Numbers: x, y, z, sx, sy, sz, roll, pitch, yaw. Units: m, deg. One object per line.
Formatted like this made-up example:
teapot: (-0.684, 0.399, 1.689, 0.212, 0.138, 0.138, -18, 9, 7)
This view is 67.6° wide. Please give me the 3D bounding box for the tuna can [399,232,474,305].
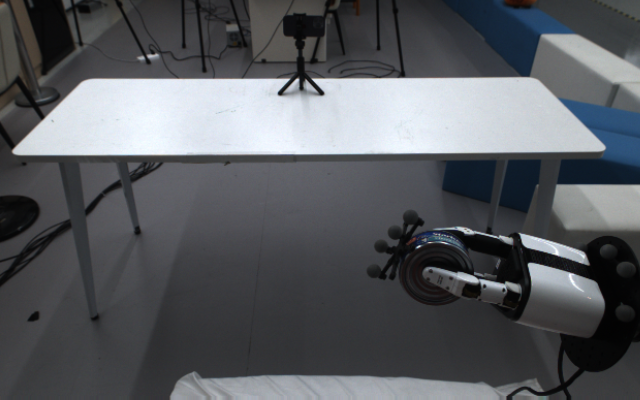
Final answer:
tuna can: (0.138, 0.077, 0.569, 0.085, 0.085, 0.034, 3, 20, 1)
